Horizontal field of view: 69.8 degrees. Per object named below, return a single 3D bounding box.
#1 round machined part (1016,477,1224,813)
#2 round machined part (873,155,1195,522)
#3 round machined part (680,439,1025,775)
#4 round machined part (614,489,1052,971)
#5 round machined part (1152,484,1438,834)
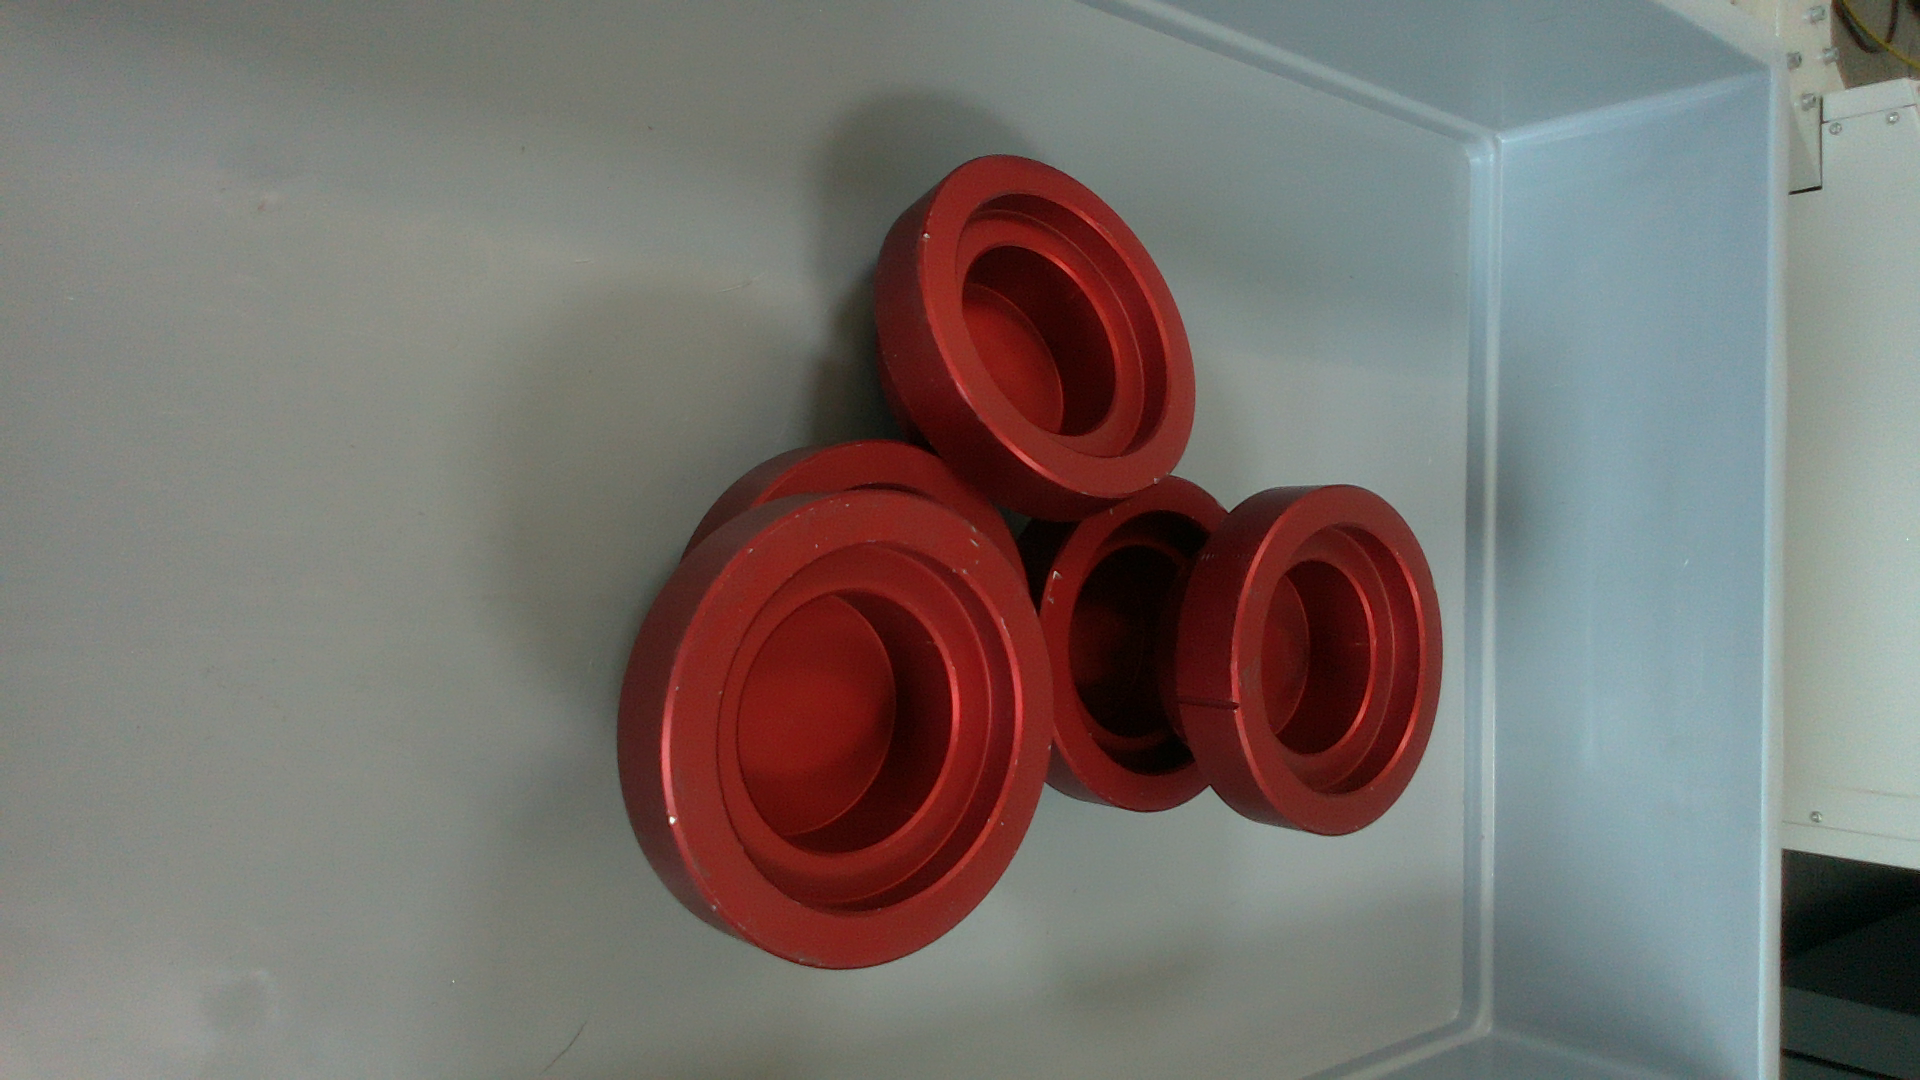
[{"bbox_3d":[0.045,0.030,0.415,0.098,0.042,0.098,0,90,-40],"label":"round machined part"},{"bbox_3d":[0.016,-0.051,0.377,0.098,0.042,0.098,18,61,-35],"label":"round machined part"},{"bbox_3d":[-0.032,0.024,0.350,0.098,0.042,0.098,0,90,-40],"label":"round machined part"},{"bbox_3d":[-0.030,0.039,0.298,0.098,0.042,0.098,0,90,-40],"label":"round machined part"},{"bbox_3d":[0.094,0.033,0.401,0.098,0.042,0.098,0,90,-40],"label":"round machined part"}]
